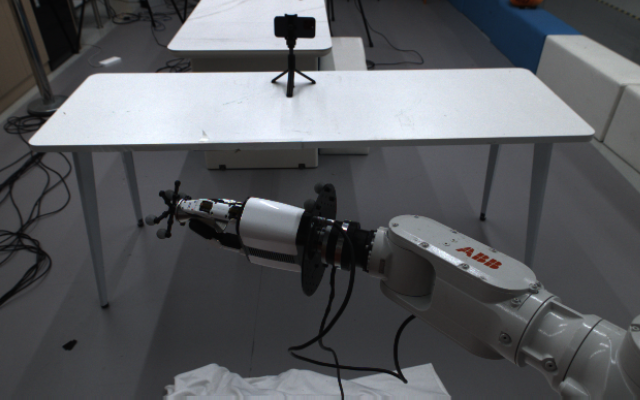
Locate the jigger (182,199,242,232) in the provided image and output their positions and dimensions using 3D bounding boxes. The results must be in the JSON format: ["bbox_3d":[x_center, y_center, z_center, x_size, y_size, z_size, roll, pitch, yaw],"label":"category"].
[{"bbox_3d":[-0.170,0.017,0.721,0.071,0.043,0.043,9,35,16],"label":"jigger"}]
